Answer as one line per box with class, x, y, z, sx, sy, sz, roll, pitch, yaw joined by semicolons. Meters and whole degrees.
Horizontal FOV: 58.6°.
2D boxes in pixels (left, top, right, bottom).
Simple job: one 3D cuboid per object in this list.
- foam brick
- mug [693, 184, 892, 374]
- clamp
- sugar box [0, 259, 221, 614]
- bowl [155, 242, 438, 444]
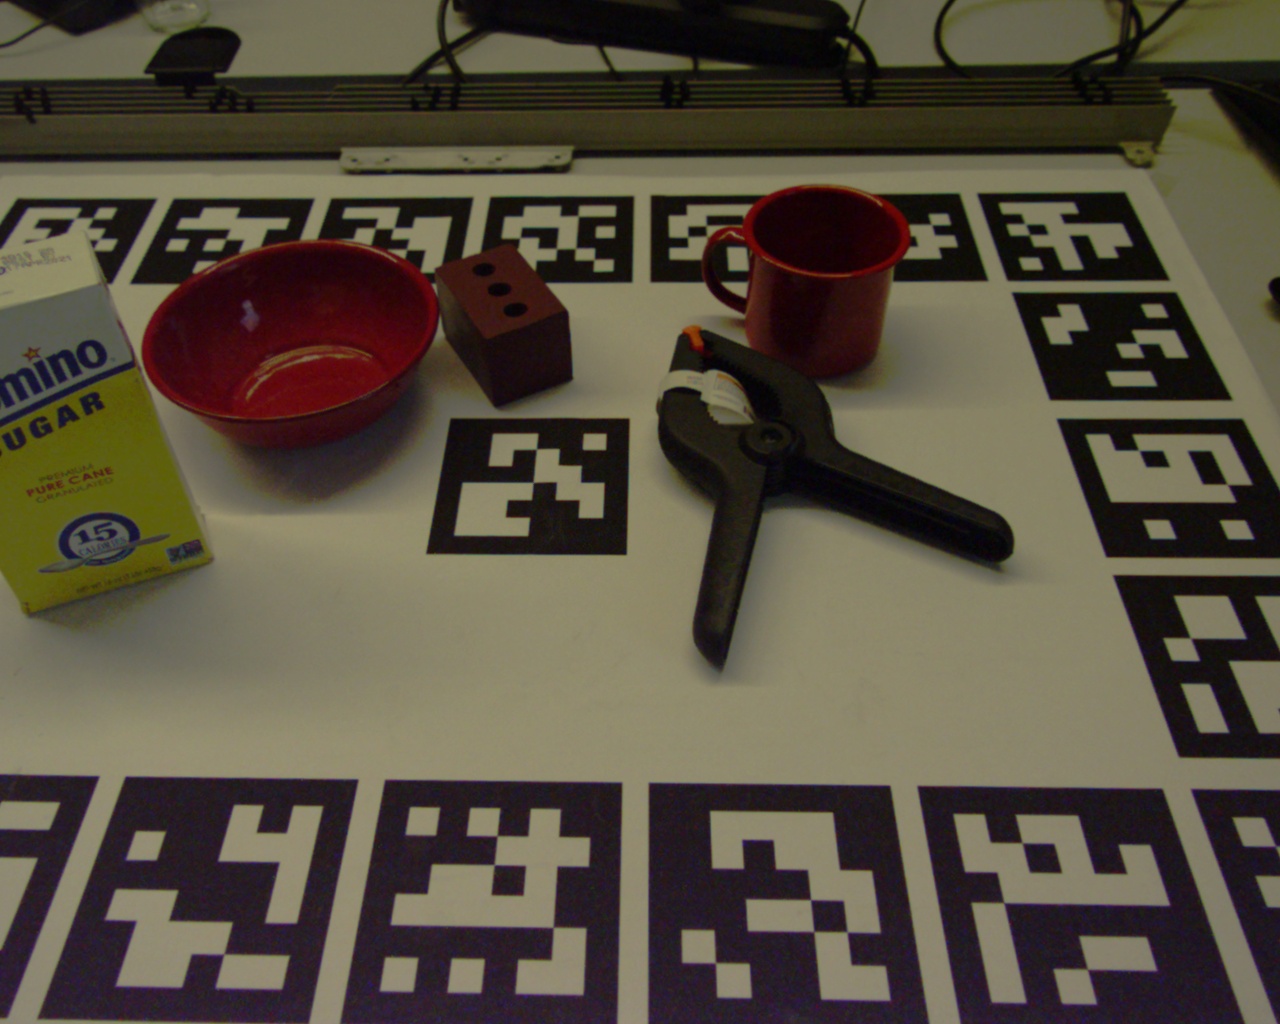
foam brick;-0.082;-0.108;0.701;0.052;0.051;0.079;-22;53;-17
mug;0.087;-0.143;0.698;0.118;0.081;0.093;22;53;14
clamp;0.056;-0.034;0.628;0.164;0.036;0.205;-20;52;-13
sugar box;-0.270;-0.029;0.548;0.092;0.176;0.046;-19;54;-17
bowl;-0.198;-0.092;0.679;0.161;0.055;0.162;0;49;0
